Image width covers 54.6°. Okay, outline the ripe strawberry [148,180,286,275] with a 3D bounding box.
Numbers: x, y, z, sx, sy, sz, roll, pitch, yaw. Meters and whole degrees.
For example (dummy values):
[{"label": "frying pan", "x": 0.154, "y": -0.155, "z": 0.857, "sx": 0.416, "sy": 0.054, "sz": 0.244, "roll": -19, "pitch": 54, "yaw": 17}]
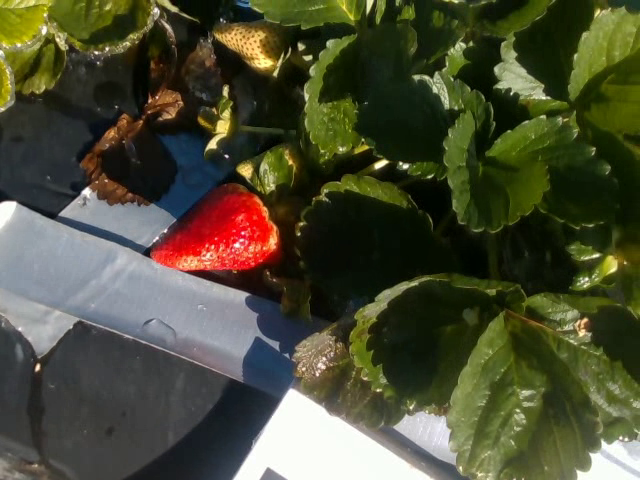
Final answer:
[{"label": "ripe strawberry", "x": -0.058, "y": 0.004, "z": 0.332, "sx": 0.065, "sy": 0.062, "sz": 0.057, "roll": -29, "pitch": 5, "yaw": -35}]
